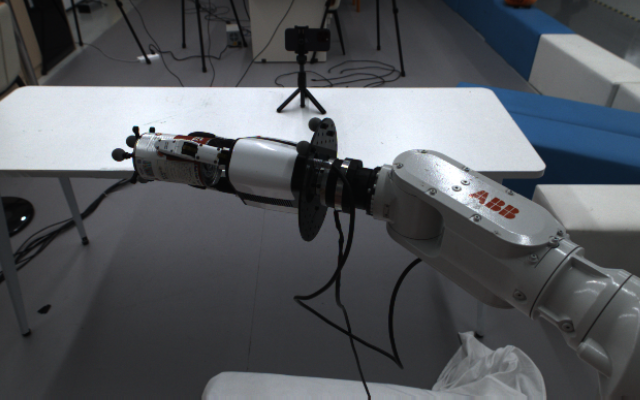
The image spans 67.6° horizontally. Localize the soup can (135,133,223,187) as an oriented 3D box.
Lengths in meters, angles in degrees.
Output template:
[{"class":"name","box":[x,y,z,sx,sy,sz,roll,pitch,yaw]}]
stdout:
[{"class":"soup can","box":[-0.192,-0.056,0.663,0.101,0.067,0.067,6,35,12]}]
